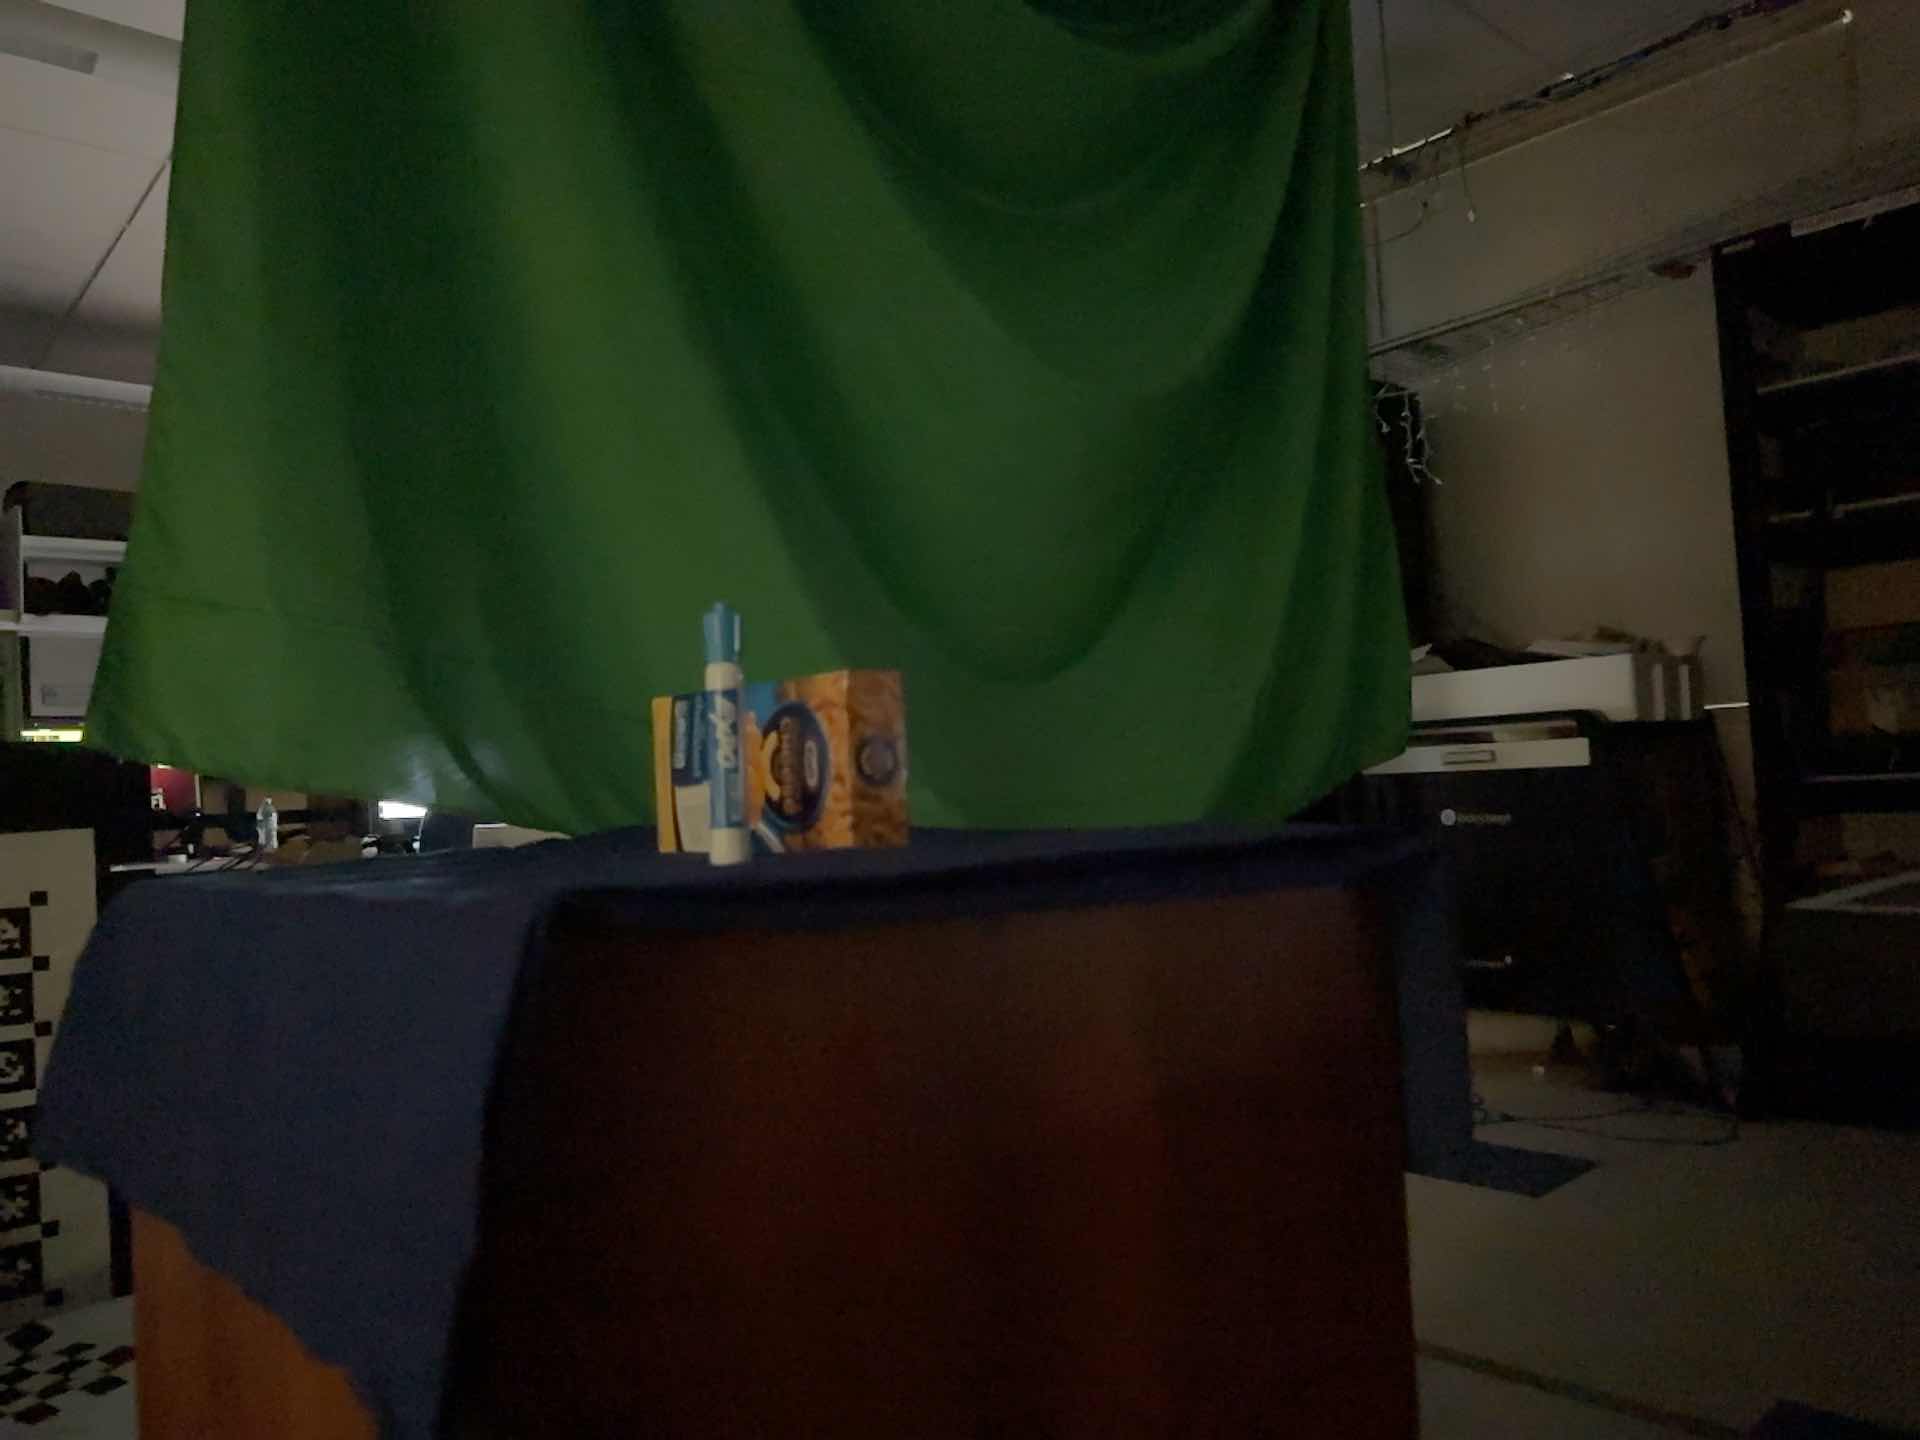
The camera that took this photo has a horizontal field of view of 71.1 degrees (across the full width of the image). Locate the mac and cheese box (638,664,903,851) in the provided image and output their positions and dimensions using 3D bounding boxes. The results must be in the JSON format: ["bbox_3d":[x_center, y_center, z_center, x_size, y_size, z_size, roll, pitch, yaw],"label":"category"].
[{"bbox_3d":[-0.107,0.023,0.722,0.035,0.088,0.181,1,-4,-44],"label":"mac and cheese box"}]

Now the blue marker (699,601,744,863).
[{"bbox_3d":[-0.112,0.005,0.627,0.020,0.121,0.020,-1,-2,0],"label":"blue marker"}]
